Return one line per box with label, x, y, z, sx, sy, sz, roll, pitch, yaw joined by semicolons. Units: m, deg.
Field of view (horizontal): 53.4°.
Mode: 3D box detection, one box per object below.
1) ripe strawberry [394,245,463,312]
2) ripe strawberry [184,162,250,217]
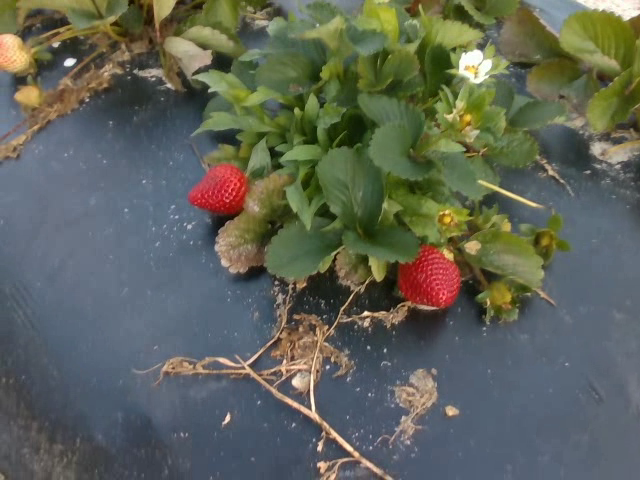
ripe strawberry;0.070;0.025;0.405;0.043;0.047;0.046;-26;33;4
ripe strawberry;-0.073;-0.034;0.454;0.050;0.043;0.043;-26;-31;-25
